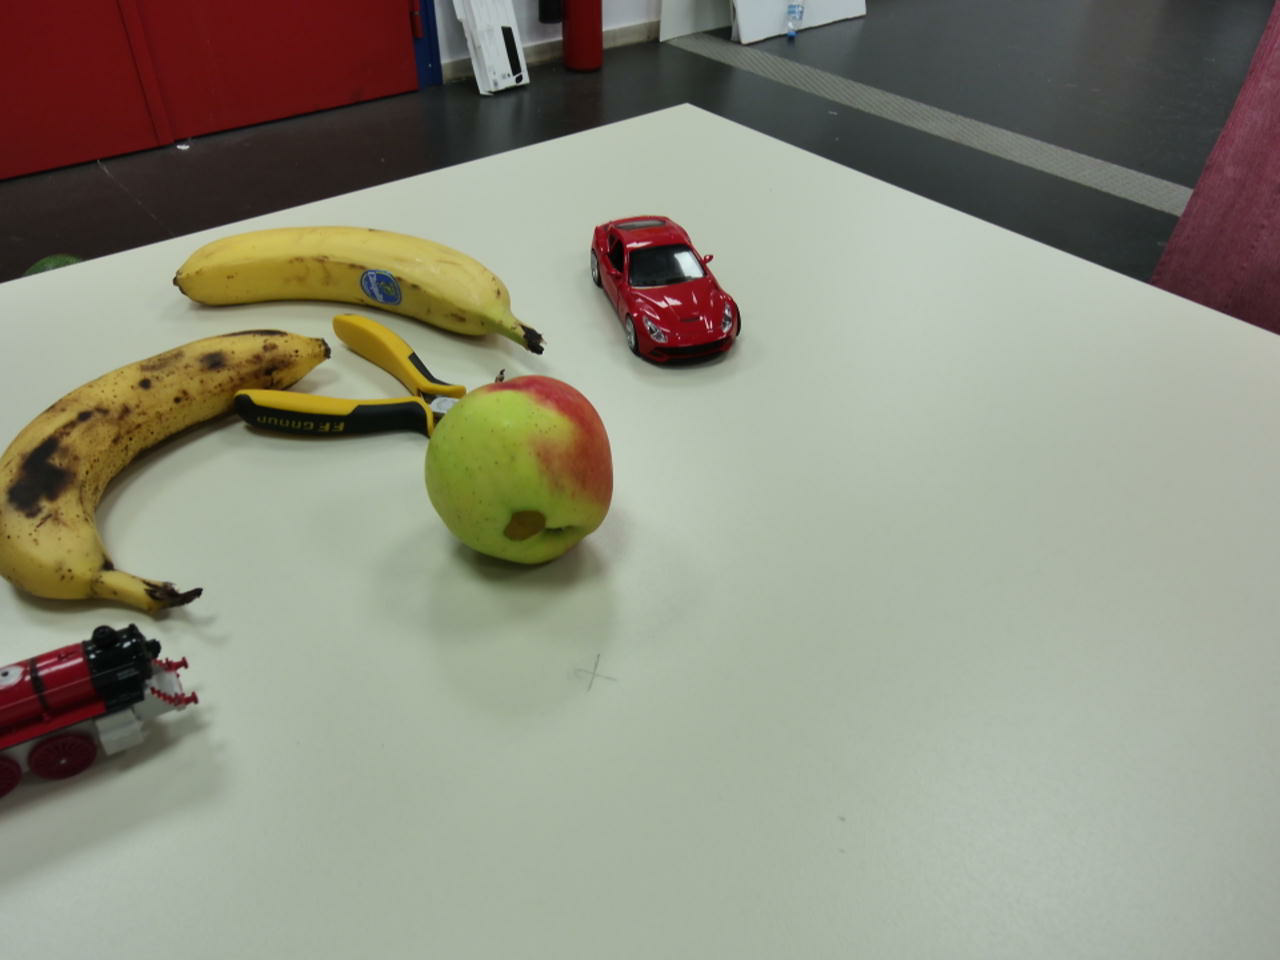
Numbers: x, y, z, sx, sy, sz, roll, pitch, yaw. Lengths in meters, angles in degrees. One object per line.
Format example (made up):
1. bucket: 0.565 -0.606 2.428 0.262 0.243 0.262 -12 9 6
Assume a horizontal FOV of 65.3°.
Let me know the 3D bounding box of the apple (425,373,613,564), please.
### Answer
1. apple: -0.046 -0.005 0.401 0.075 0.074 0.075 21 41 24
